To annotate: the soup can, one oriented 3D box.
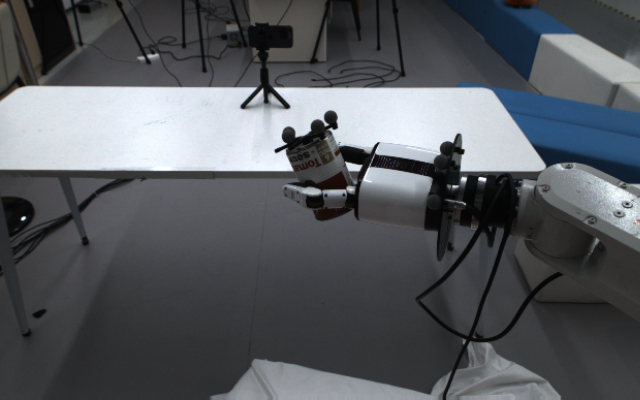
[{"bbox_3d":[0.006,-0.033,0.642,0.067,0.101,0.067,-23,16,7],"label":"soup can"}]
